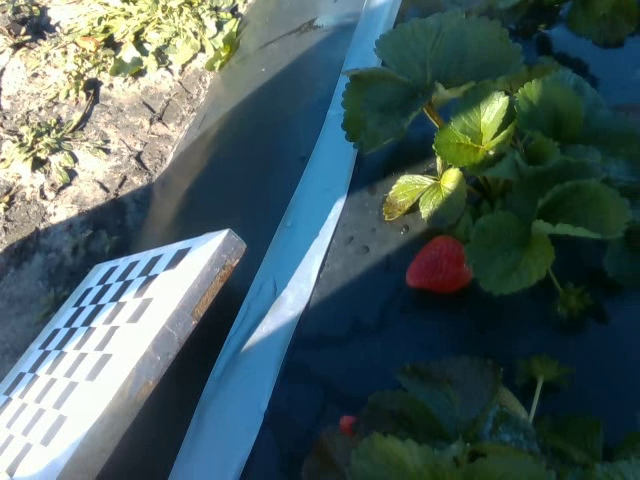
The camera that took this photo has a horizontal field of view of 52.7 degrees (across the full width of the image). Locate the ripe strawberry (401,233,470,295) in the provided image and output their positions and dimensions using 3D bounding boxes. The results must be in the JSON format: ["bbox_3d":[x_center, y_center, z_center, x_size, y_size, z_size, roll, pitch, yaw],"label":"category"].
[{"bbox_3d":[0.081,0.020,0.444,0.058,0.042,0.045,-29,22,-14],"label":"ripe strawberry"}]
